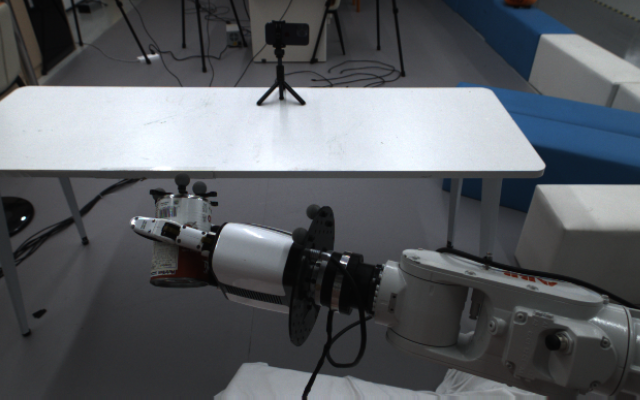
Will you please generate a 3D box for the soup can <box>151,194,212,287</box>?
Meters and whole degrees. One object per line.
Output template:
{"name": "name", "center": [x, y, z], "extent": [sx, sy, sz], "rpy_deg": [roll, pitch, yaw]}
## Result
{"name": "soup can", "center": [-0.164, 0.051, 0.581], "extent": [0.067, 0.067, 0.101], "rpy_deg": [-1, 71, -5]}
